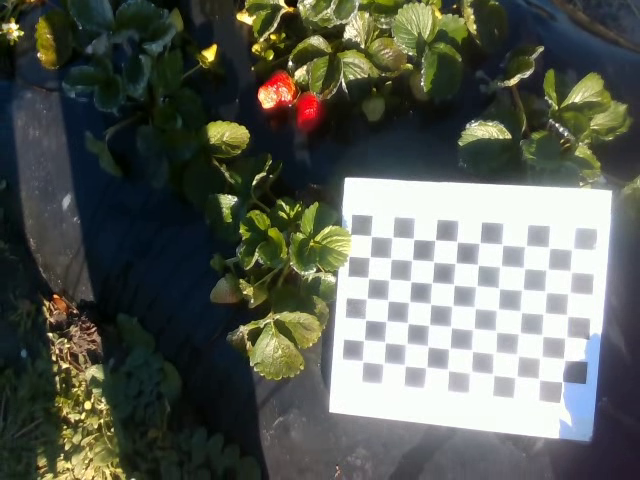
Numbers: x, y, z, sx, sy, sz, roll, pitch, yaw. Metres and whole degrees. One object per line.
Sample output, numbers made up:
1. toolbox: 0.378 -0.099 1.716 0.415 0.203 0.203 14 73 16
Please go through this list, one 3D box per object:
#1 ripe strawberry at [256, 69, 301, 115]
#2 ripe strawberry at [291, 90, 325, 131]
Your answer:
1. ripe strawberry: -0.062 -0.209 0.845 0.069 0.053 0.040 -40 0 0
2. ripe strawberry: -0.018 -0.183 0.827 0.043 0.059 0.040 4 -5 10
